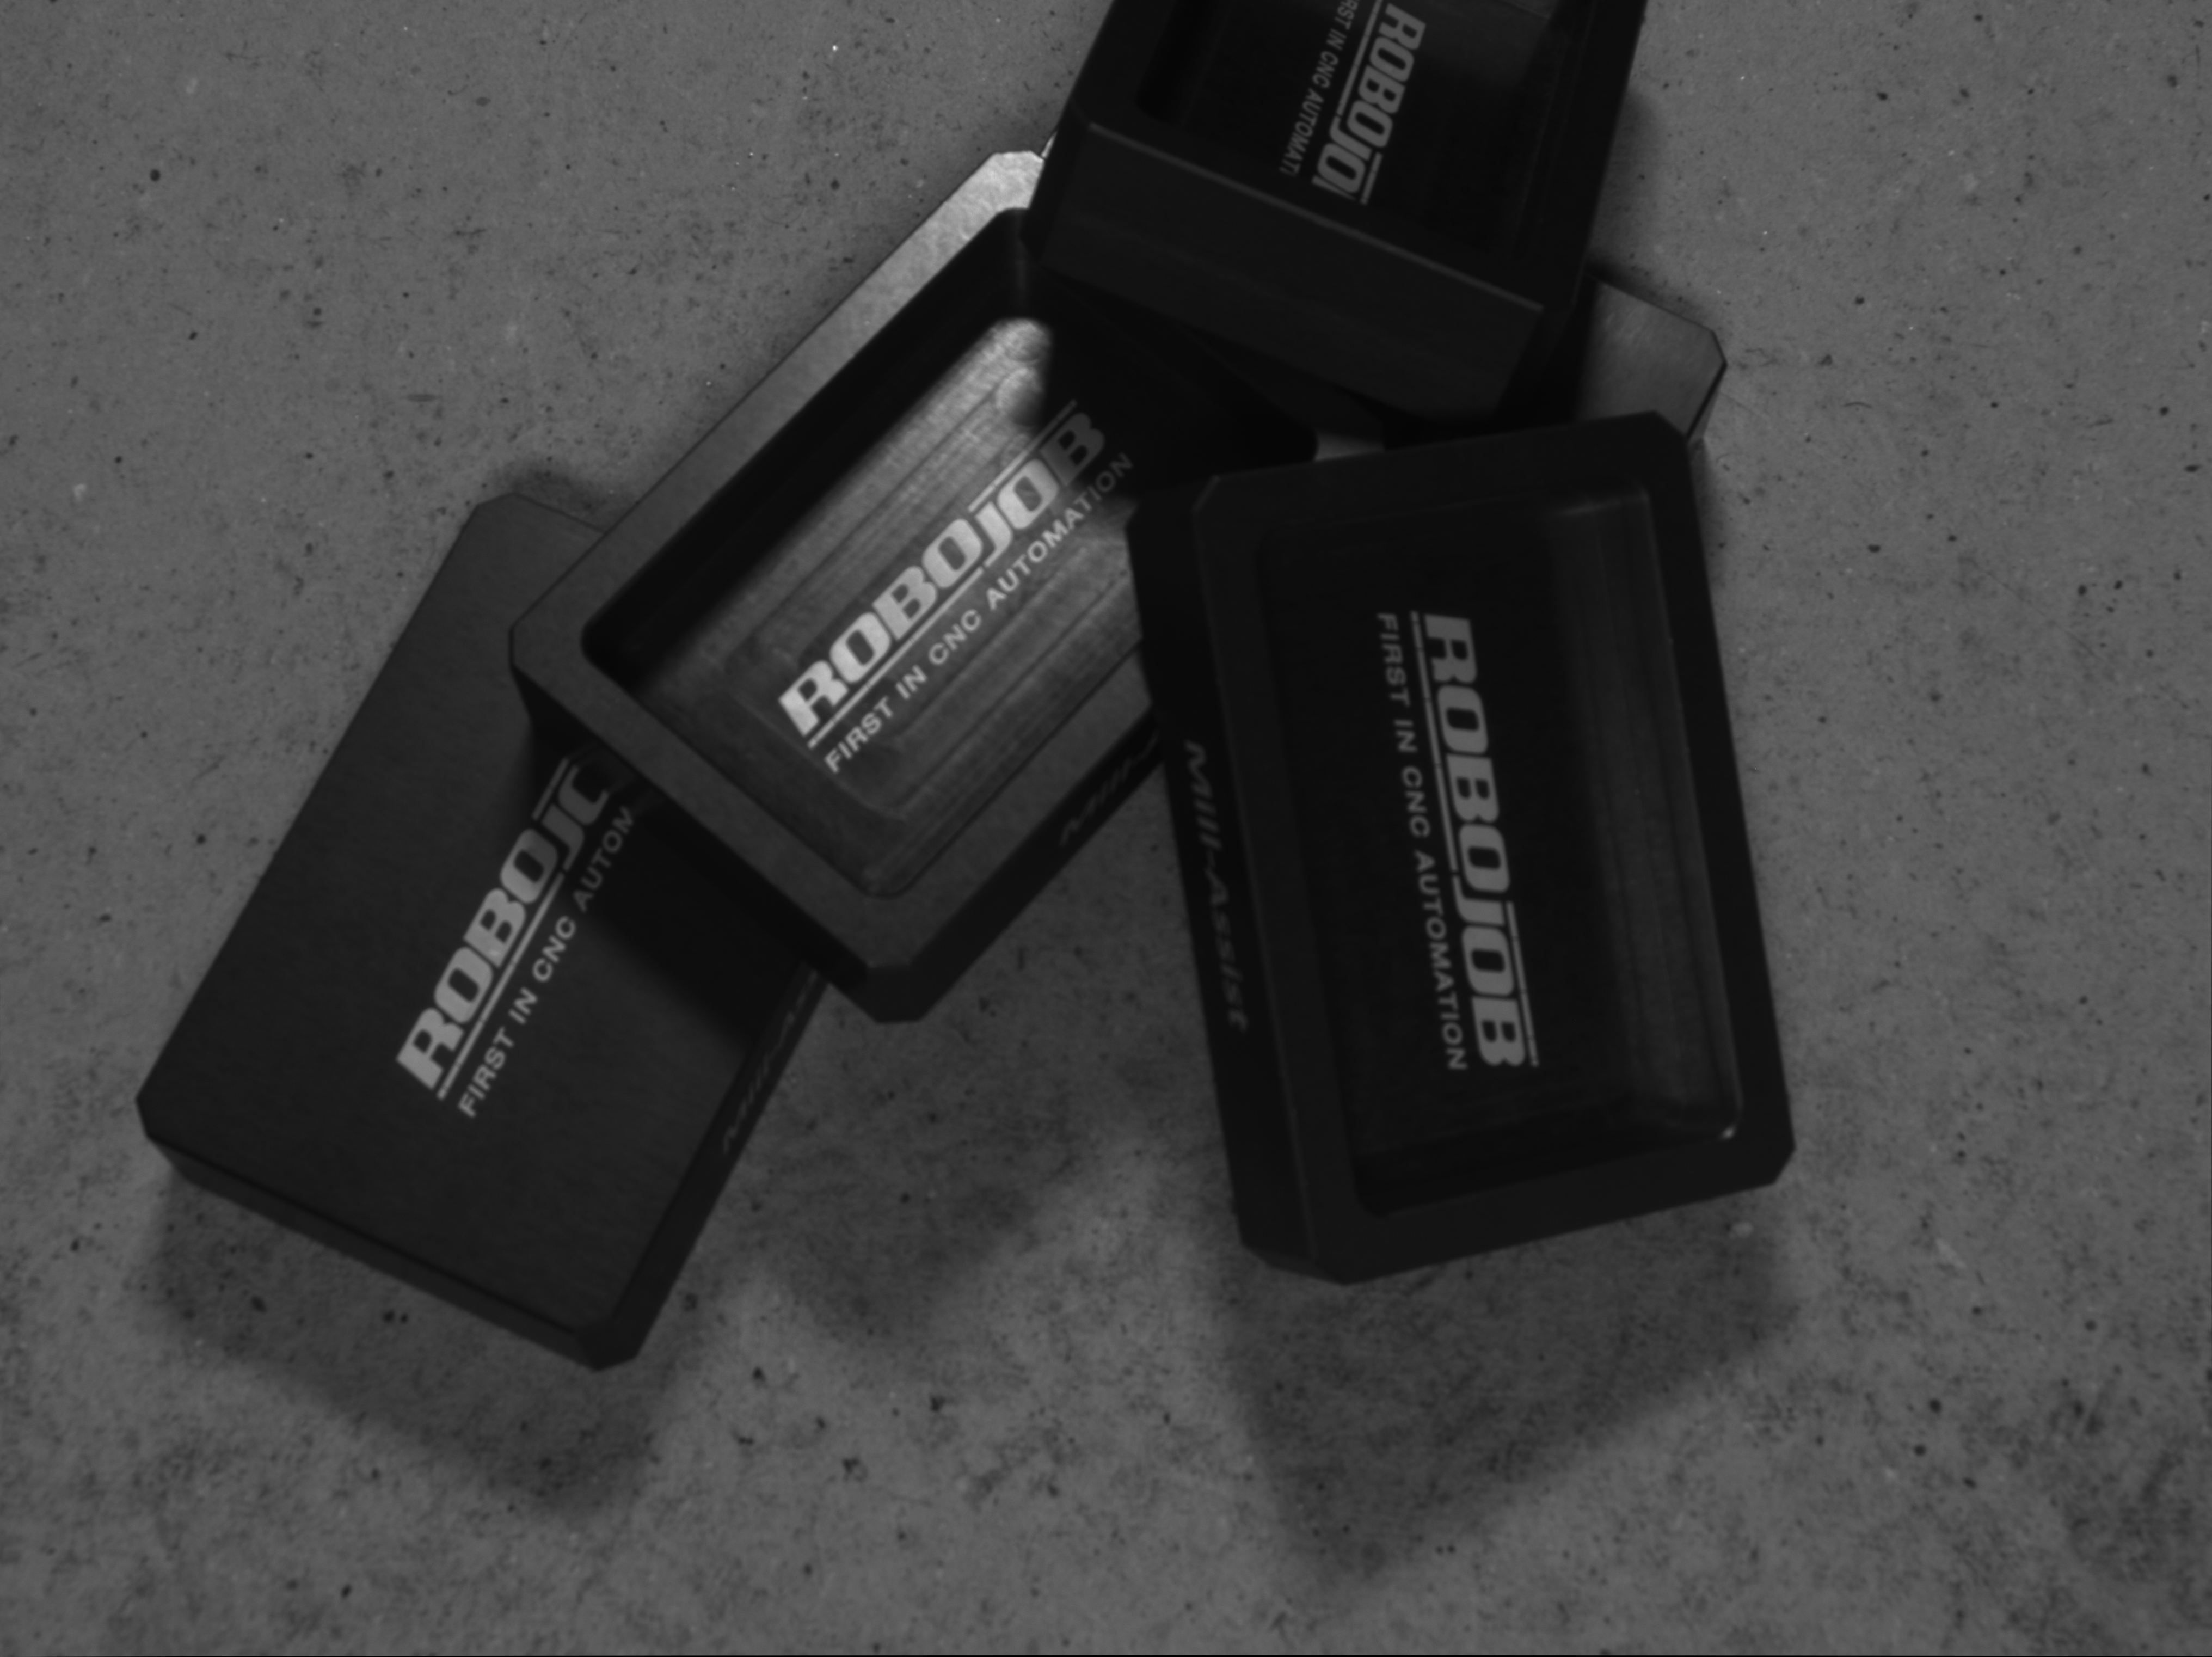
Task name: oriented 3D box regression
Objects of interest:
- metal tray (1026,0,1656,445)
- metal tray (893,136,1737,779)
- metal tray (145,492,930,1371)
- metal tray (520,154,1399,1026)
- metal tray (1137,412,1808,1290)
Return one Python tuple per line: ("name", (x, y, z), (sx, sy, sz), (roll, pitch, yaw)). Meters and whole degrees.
("metal tray", (0.046, -0.131, 0.654), (0.090, 0.030, 0.130), (22, 43, -3))
("metal tray", (0.037, -0.073, 0.669), (0.130, 0.030, 0.090), (26, 72, 9))
("metal tray", (-0.094, 0.016, 0.635), (0.090, 0.030, 0.130), (23, 71, 8))
("metal tray", (-0.024, -0.042, 0.626), (0.090, 0.030, 0.130), (40, 75, 13))
("metal tray", (0.061, 0.002, 0.605), (0.090, 0.030, 0.130), (-11, 94, -21))
